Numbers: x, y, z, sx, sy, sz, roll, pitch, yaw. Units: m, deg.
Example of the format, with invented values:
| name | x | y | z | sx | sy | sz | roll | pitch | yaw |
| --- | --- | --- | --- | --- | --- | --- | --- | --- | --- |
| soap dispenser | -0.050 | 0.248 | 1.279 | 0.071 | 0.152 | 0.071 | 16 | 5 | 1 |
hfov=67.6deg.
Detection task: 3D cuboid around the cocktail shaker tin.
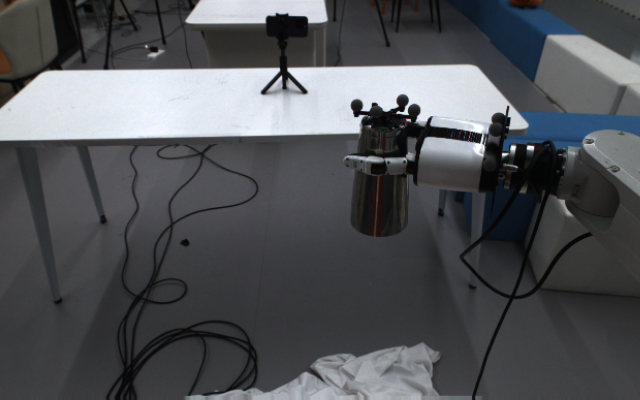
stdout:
| name | x | y | z | sx | sy | sz | roll | pitch | yaw |
| --- | --- | --- | --- | --- | --- | --- | --- | --- | --- |
| cocktail shaker tin | 0.096 | -0.044 | 0.729 | 0.093 | 0.170 | 0.093 | -1 | 32 | 1 |
